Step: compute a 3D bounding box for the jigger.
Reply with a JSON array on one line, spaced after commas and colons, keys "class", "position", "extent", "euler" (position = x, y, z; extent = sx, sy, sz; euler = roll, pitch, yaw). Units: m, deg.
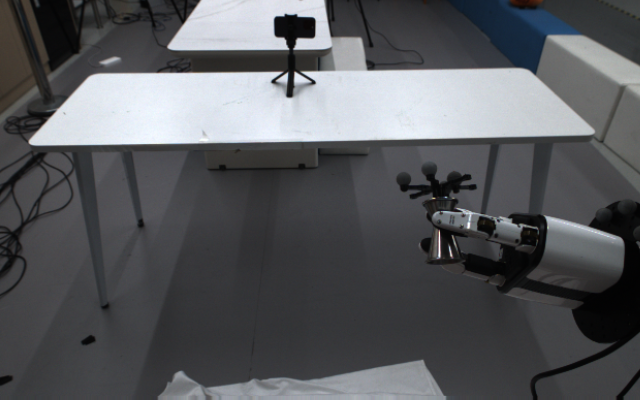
[{"class": "jigger", "position": [0.137, 0.033, 0.536], "extent": [0.043, 0.043, 0.071], "euler": [0, 75, -4]}]
